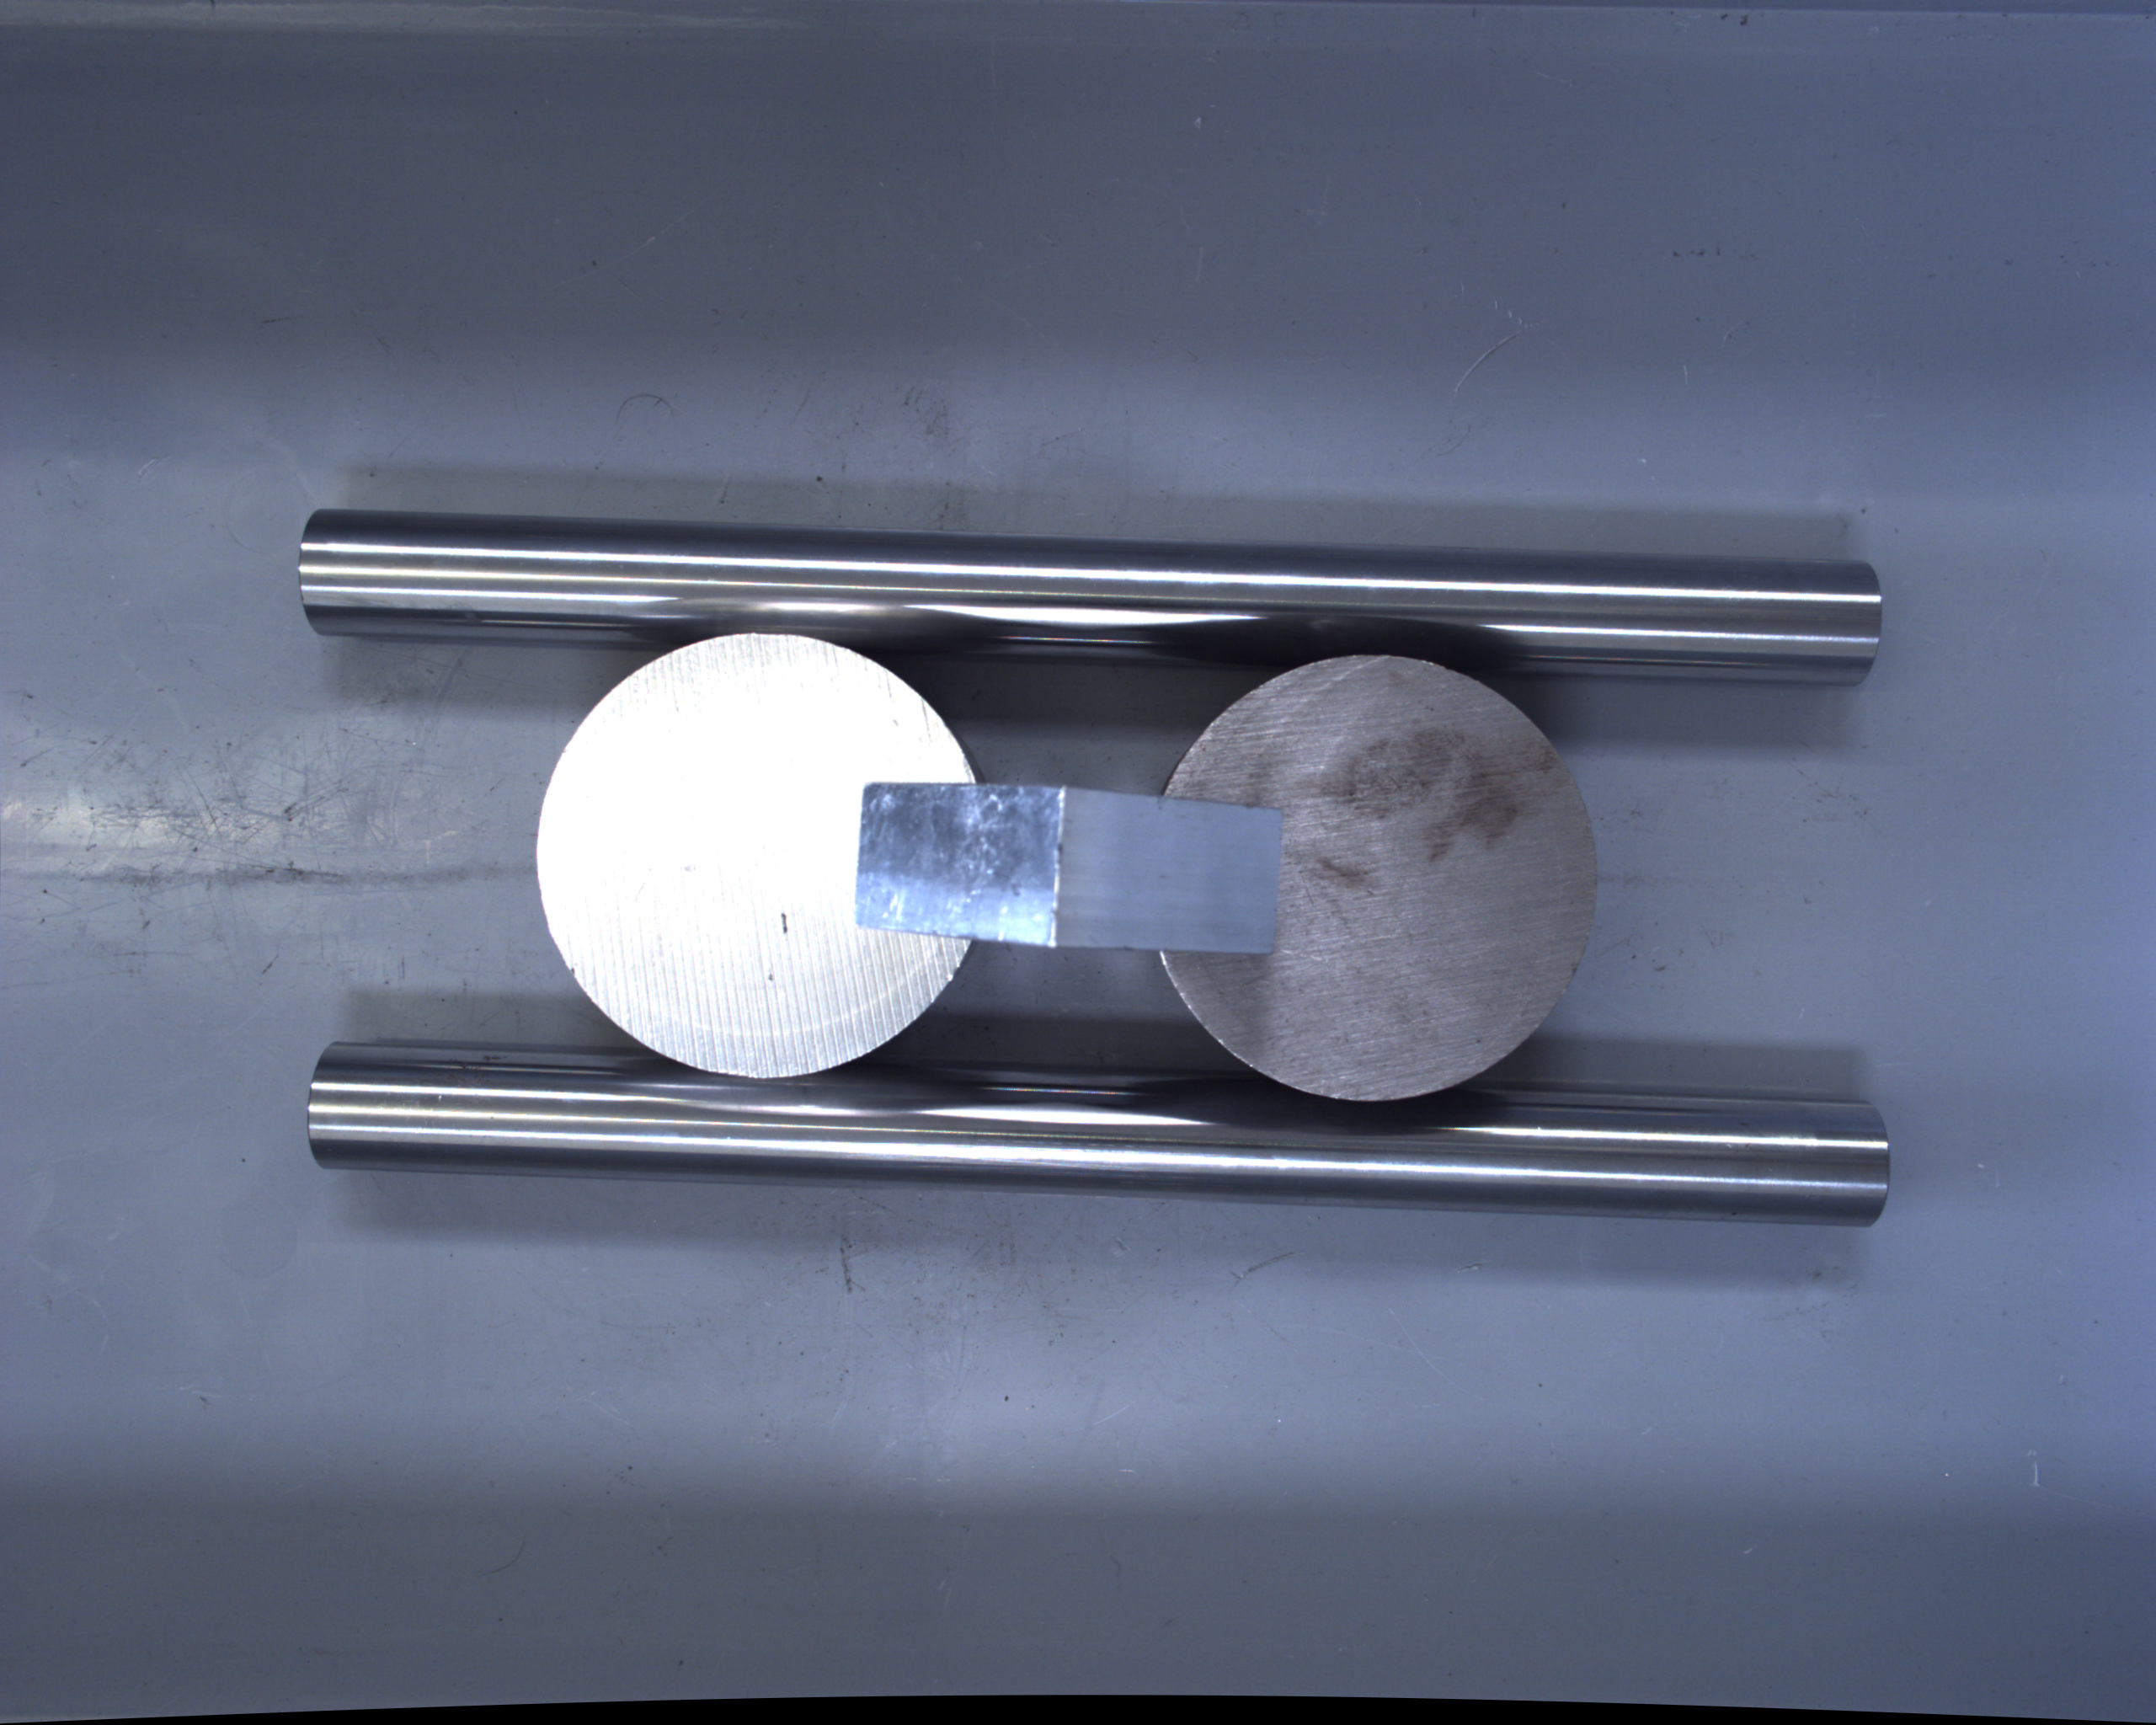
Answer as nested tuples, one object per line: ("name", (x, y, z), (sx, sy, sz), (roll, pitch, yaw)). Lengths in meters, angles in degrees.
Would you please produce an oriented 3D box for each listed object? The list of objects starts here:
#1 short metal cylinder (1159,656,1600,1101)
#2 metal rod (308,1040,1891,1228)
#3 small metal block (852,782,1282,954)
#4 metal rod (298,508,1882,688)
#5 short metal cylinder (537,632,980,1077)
("short metal cylinder", (0.053, 0.003, 0.398), (0.081, 0.050, 0.079), (0, 90, 0))
("metal rod", (0.005, 0.053, 0.410), (0.302, 0.025, 0.025), (2, 90, 0))
("small metal block", (-0.002, 0.001, 0.351), (0.050, 0.050, 0.025), (4, 89, -43))
("metal rod", (0.003, -0.052, 0.410), (0.302, 0.025, 0.025), (2, 90, 0))
("short metal cylinder", (-0.056, -0.002, 0.397), (0.081, 0.050, 0.079), (0, 90, 0))
